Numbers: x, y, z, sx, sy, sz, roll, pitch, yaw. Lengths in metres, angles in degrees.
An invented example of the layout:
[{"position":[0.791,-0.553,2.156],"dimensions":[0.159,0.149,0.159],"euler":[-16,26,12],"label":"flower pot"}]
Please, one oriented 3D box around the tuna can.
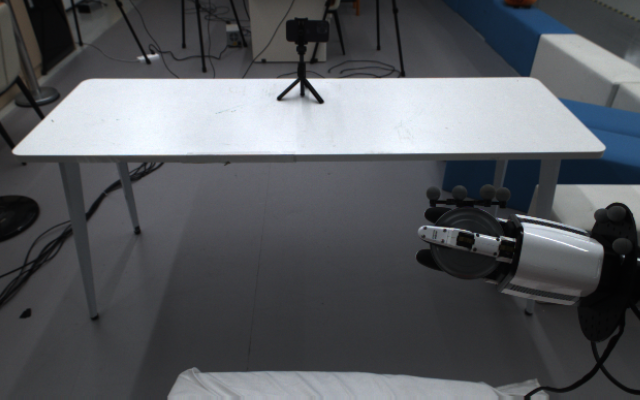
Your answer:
[{"position":[0.178,0.048,0.580],"dimensions":[0.085,0.085,0.034],"euler":[13,-1,15],"label":"tuna can"}]
